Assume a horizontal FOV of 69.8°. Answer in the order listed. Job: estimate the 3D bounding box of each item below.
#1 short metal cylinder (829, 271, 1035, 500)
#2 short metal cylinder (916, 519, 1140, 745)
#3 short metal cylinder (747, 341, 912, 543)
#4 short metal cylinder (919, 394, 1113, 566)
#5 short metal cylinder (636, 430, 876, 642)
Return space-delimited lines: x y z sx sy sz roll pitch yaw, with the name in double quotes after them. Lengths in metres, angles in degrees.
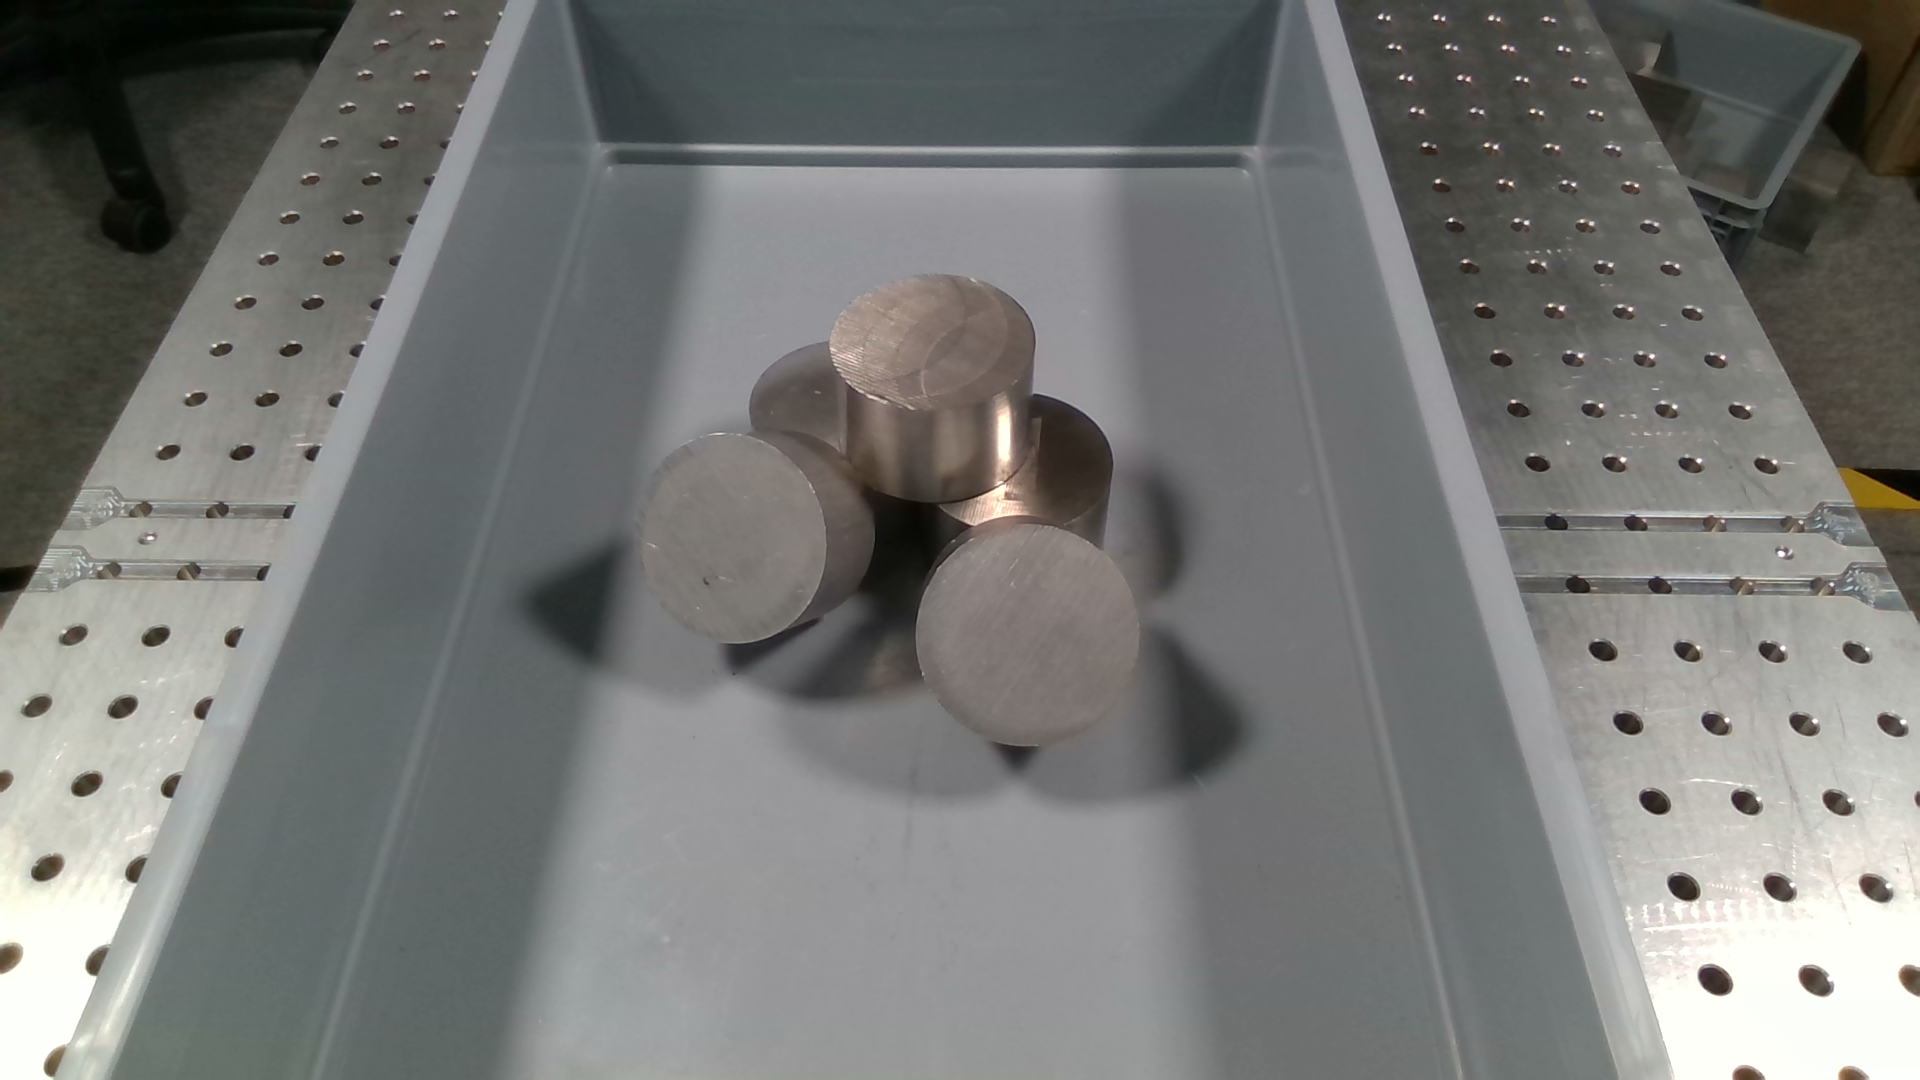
-0.011 -0.063 0.555 0.080 0.050 0.080 0 50 0 "short metal cylinder"
0.024 0.032 0.516 0.080 0.050 0.080 0 94 -1 "short metal cylinder"
-0.050 -0.043 0.606 0.080 0.050 0.080 0 50 0 "short metal cylinder"
0.023 -0.017 0.583 0.080 0.050 0.080 0 50 0 "short metal cylinder"
-0.080 -0.004 0.544 0.080 0.080 0.050 18 12 15 "short metal cylinder"
